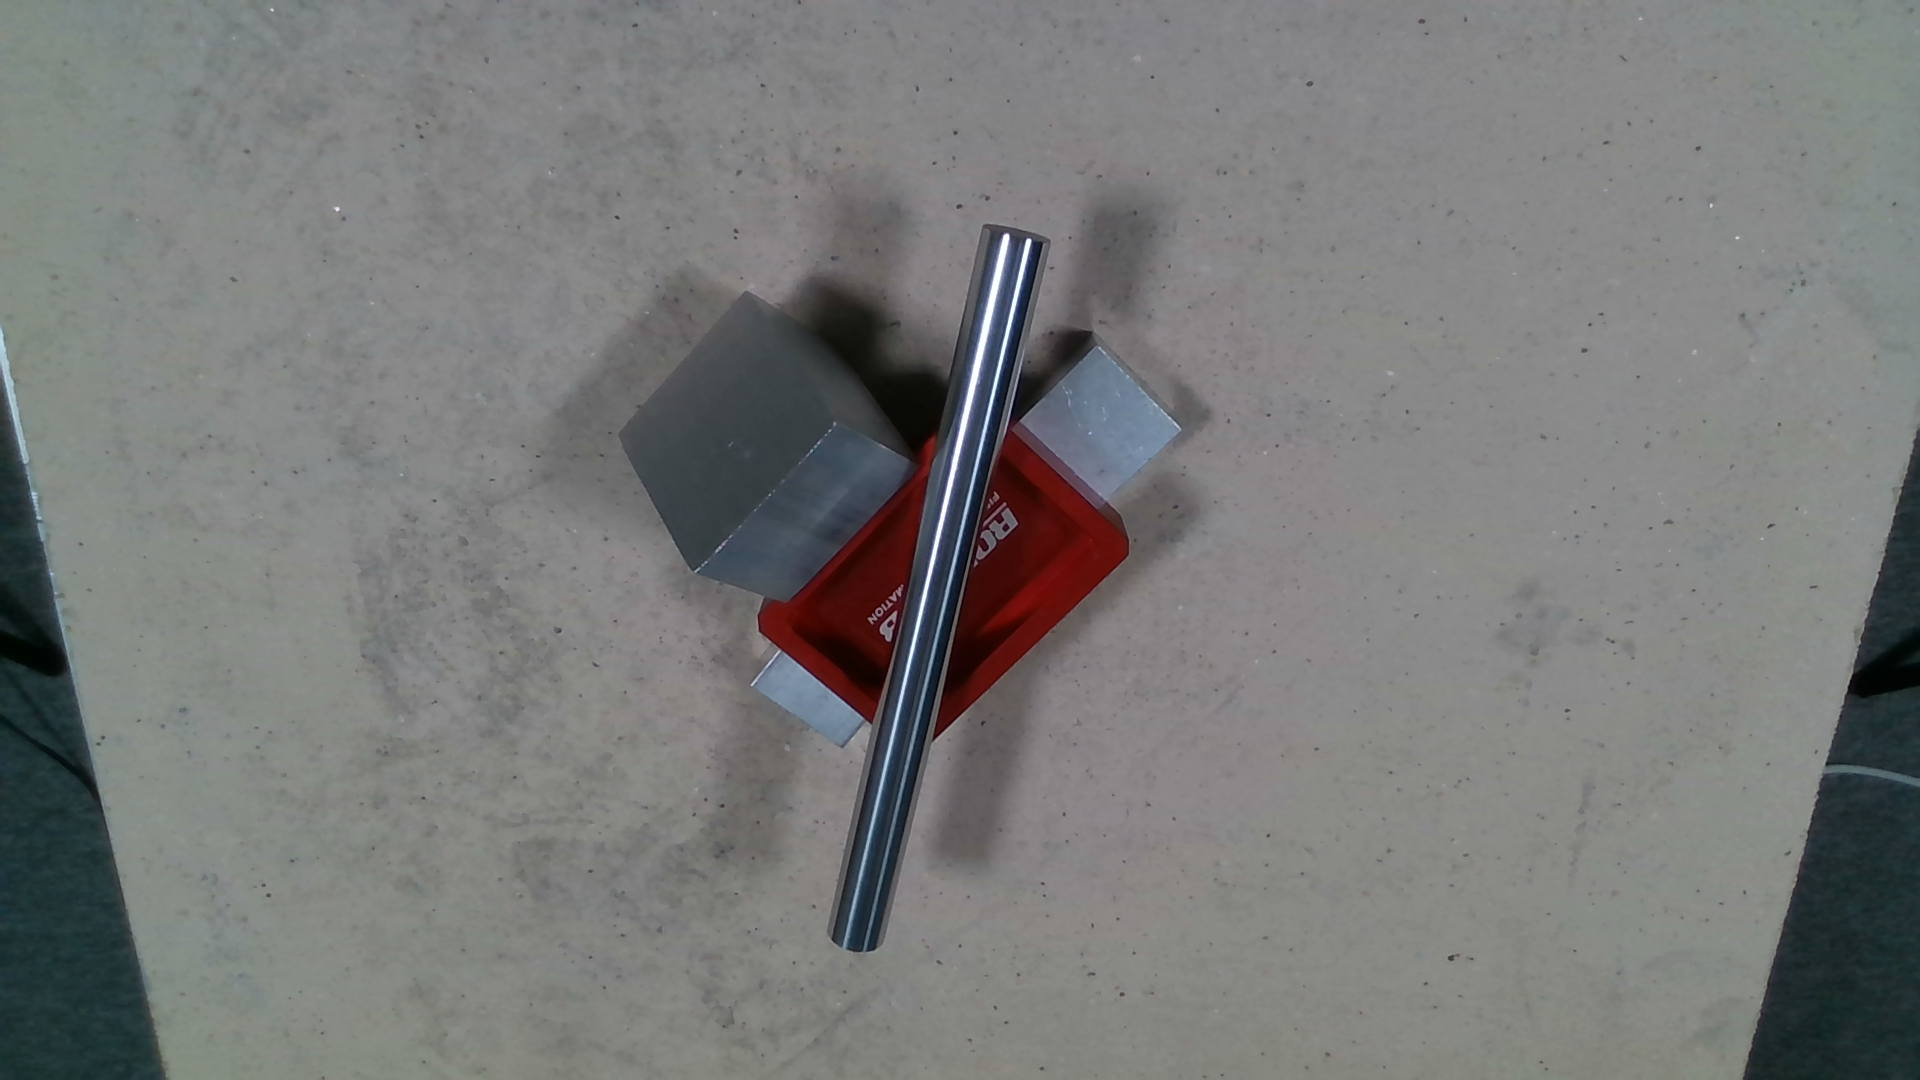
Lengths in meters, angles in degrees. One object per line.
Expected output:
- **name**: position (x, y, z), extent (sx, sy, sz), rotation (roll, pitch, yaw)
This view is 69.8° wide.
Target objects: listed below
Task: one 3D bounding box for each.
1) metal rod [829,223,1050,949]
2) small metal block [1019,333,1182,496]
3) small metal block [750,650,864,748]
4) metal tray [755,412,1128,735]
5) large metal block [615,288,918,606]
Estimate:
- **metal rod**: position (-0.012, 0.029, 0.537), extent (0.025, 0.025, 0.301), rotation (12, 110, -4)
- **small metal block**: position (0.054, -0.049, 0.566), extent (0.050, 0.025, 0.050), rotation (43, 105, -14)
- **small metal block**: position (-0.056, 0.054, 0.605), extent (0.050, 0.025, 0.050), rotation (37, 106, -12)
- **metal tray**: position (-0.008, 0.013, 0.559), extent (0.090, 0.030, 0.130), rotation (42, 105, -14)
- **large metal block**: position (-0.076, -0.035, 0.533), extent (0.080, 0.080, 0.050), rotation (-45, 146, 14)
